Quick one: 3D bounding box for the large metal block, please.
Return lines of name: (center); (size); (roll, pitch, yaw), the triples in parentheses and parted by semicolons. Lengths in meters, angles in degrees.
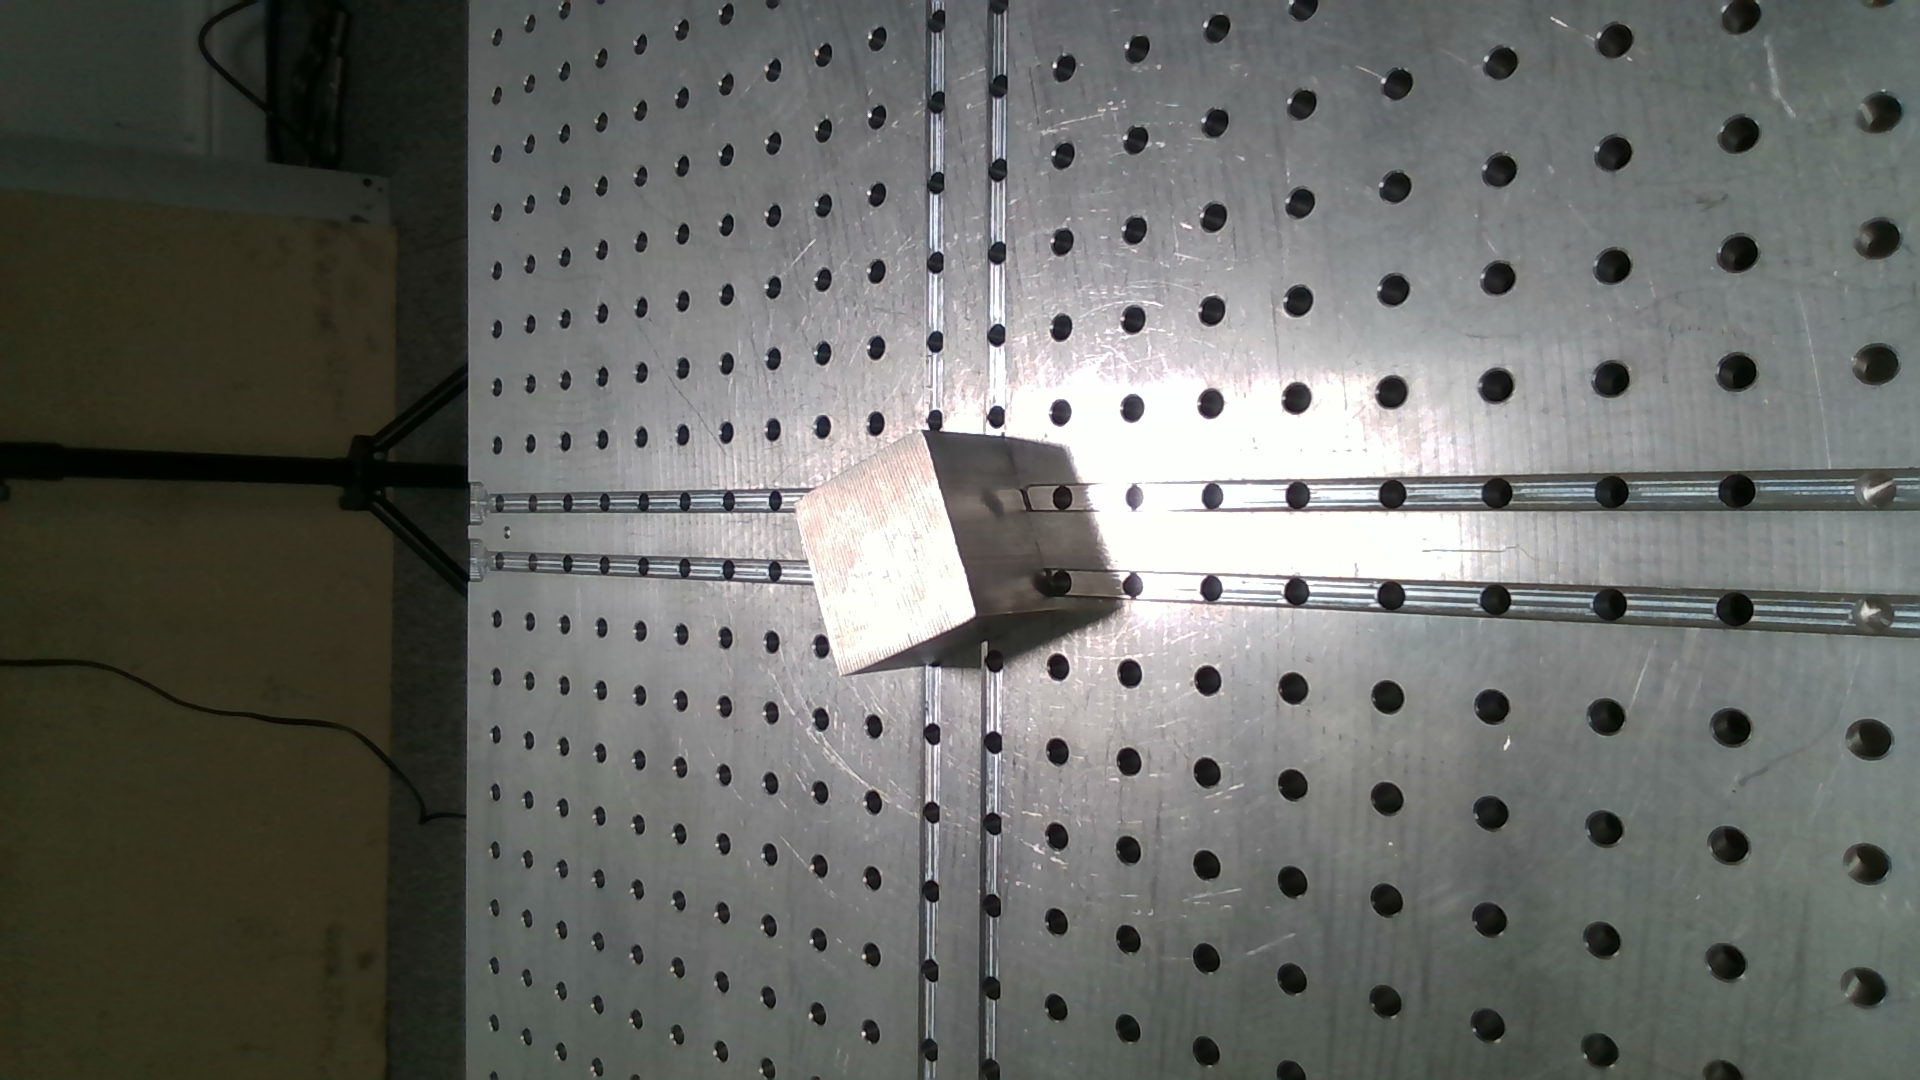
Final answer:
large metal block: (-0.018, 0.007, 0.580); (0.080, 0.050, 0.080); (-27, 74, 37)
